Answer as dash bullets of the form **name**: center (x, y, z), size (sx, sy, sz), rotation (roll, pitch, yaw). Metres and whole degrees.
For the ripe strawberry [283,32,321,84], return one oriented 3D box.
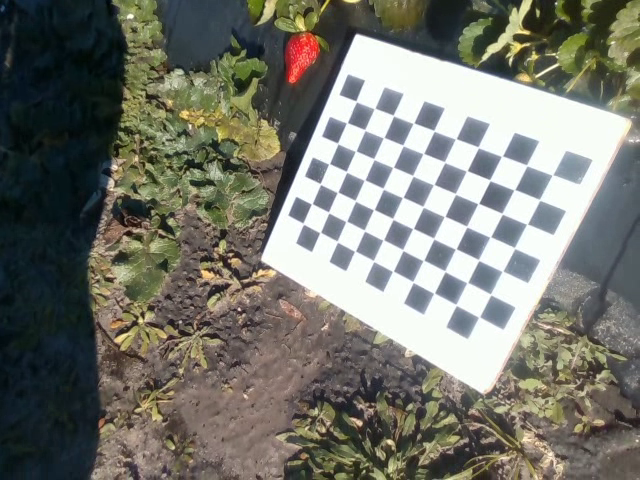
- **ripe strawberry**: center (-0.023, -0.205, 0.703), size (0.048, 0.068, 0.040), rotation (7, -8, 32)
